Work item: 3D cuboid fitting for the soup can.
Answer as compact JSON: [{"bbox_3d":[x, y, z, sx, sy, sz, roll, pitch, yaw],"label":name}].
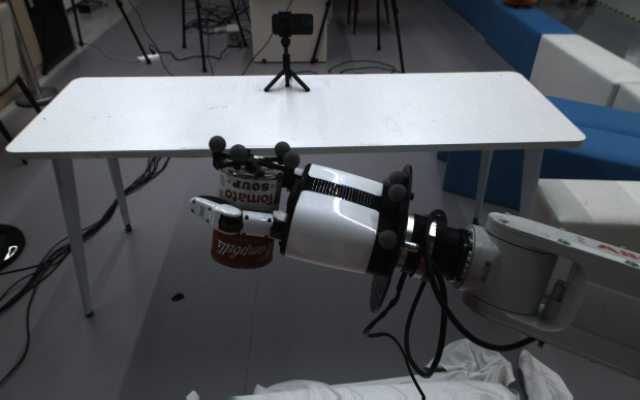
[{"bbox_3d":[-0.076,0.014,0.512,0.067,0.101,0.067,8,19,-3],"label":"soup can"}]
